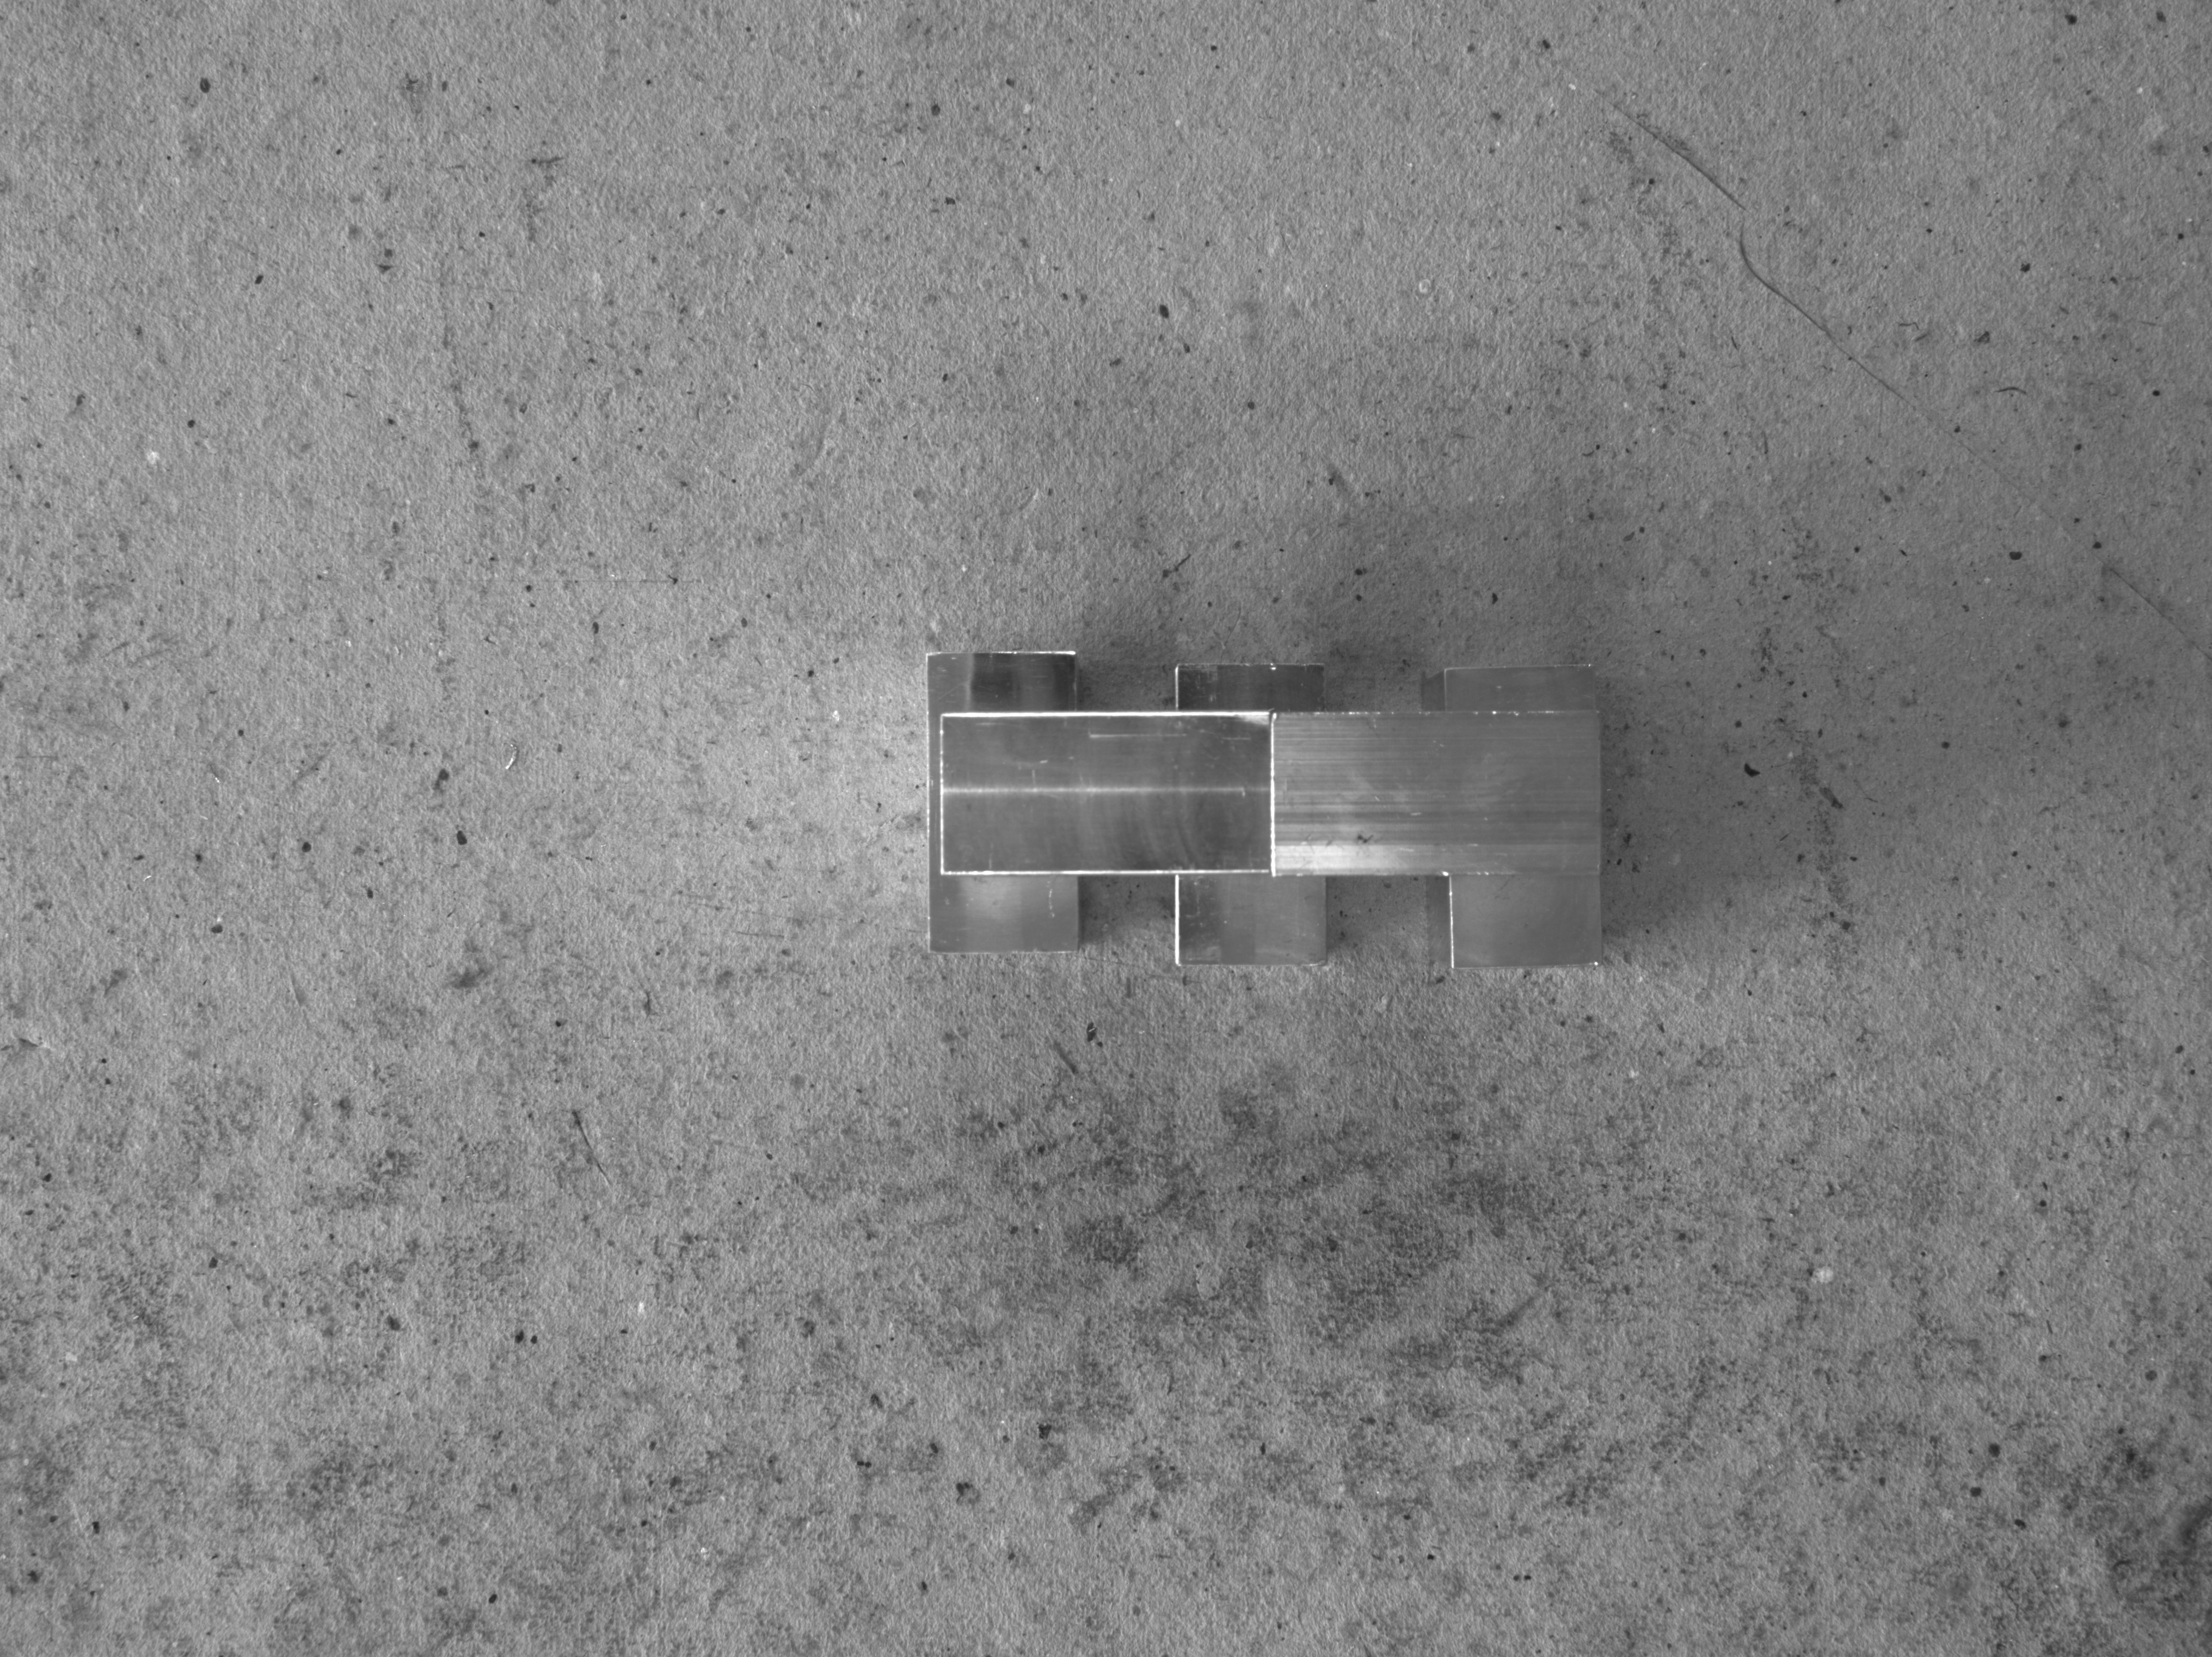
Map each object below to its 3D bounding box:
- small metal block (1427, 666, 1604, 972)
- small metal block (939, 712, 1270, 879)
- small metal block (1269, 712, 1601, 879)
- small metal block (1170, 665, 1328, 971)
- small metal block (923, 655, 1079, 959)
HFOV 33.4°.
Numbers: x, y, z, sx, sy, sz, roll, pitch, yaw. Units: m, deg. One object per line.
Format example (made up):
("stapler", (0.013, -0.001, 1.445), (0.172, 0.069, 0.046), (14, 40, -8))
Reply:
("small metal block", (0.070, -0.001, 0.634), (0.025, 0.050, 0.050), (-1, 89, 1))
("small metal block", (0.000, -0.005, 0.584), (0.050, 0.050, 0.025), (0, 90, 0))
("small metal block", (0.050, -0.005, 0.583), (0.050, 0.050, 0.025), (0, 90, 0))
("small metal block", (0.024, -0.002, 0.634), (0.025, 0.050, 0.050), (-1, 89, 1))
("small metal block", (-0.017, -0.003, 0.633), (0.025, 0.050, 0.050), (-1, 89, 1))
